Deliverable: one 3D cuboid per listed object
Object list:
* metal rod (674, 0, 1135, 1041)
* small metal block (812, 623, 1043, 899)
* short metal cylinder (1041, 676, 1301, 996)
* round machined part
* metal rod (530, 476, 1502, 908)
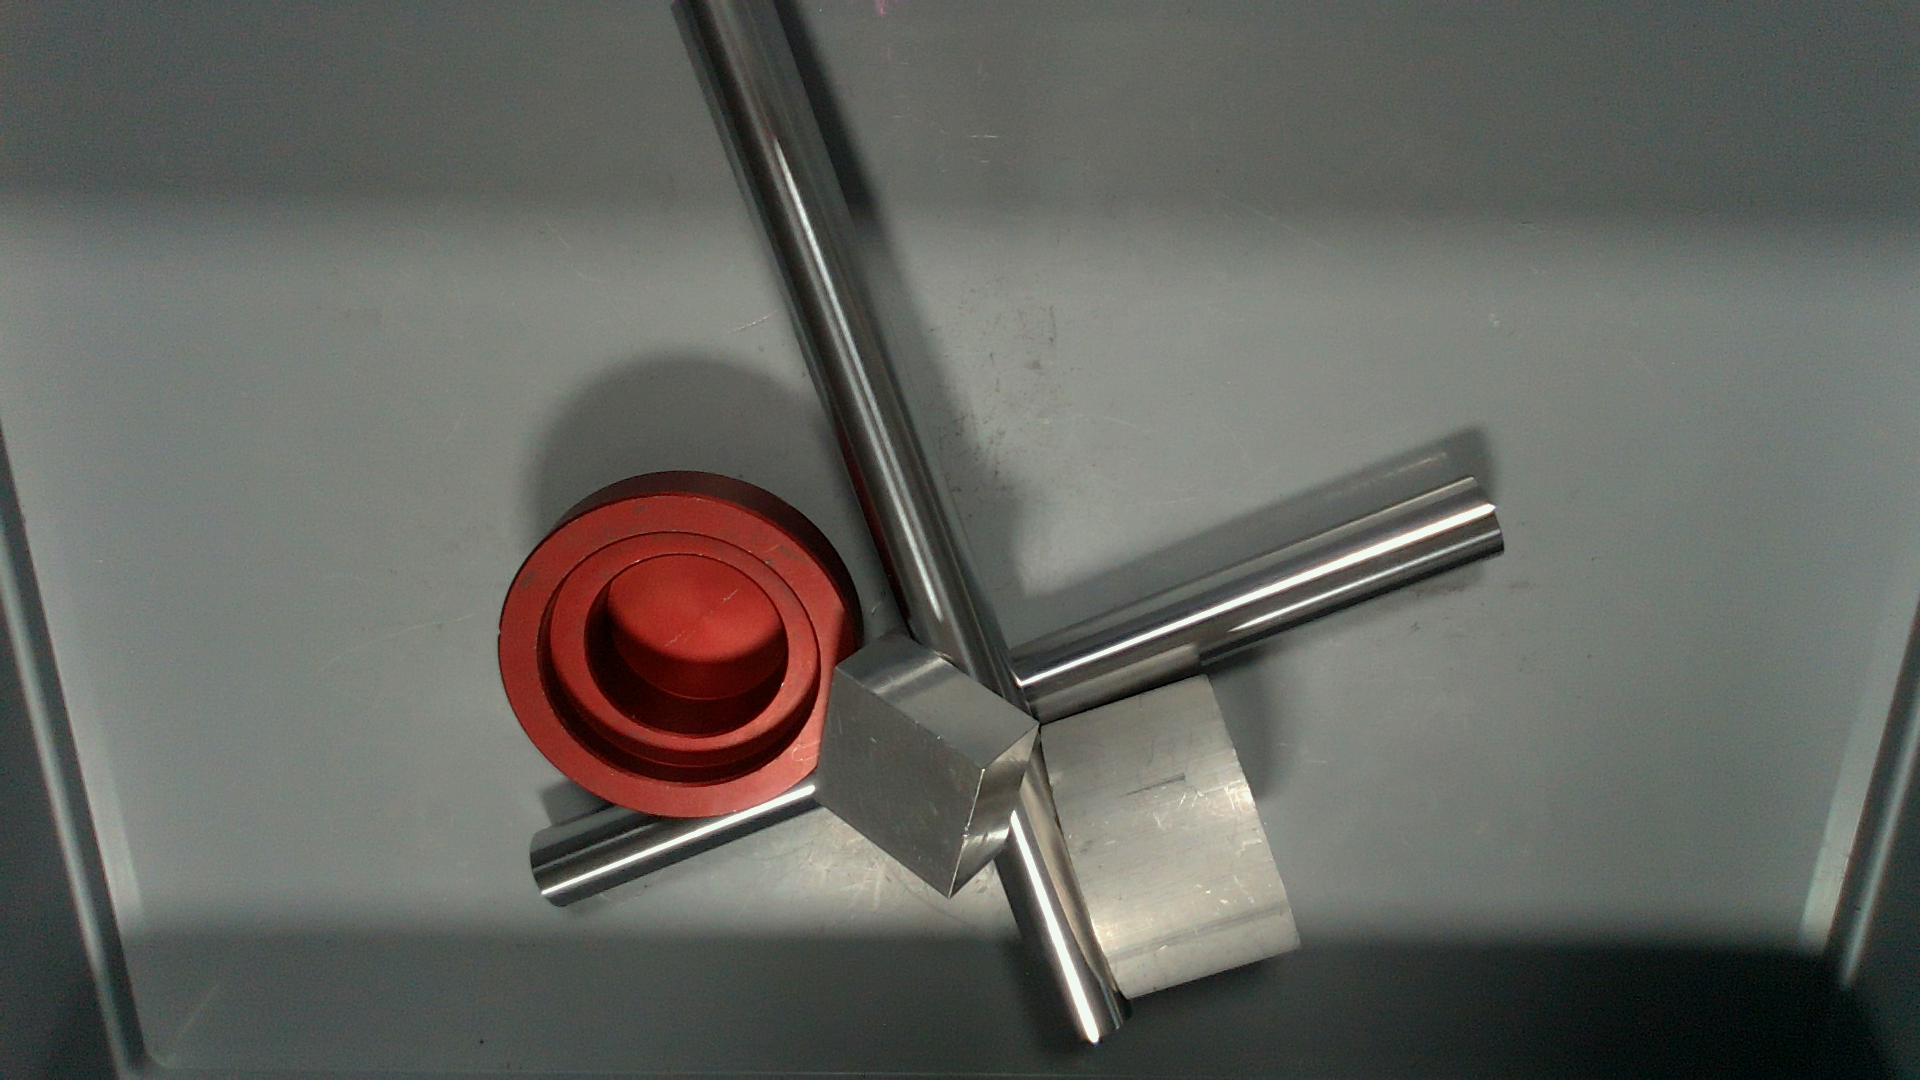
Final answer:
[{"bbox_3d":[-0.010,0.002,0.374,0.025,0.025,0.300,-18,102,7],"label":"metal rod"},{"bbox_3d":[-0.010,0.059,0.371,0.050,0.025,0.050,31,129,24],"label":"small metal block"},{"bbox_3d":[0.060,0.084,0.395,0.050,0.080,0.080,-19,109,7],"label":"short metal cylinder"},{"bbox_3d":[-0.077,0.026,0.393,0.098,0.042,0.098,0,110,0],"label":"round machined part"},{"bbox_3d":[0.011,0.048,0.411,0.300,0.025,0.025,-22,109,7],"label":"metal rod"}]
